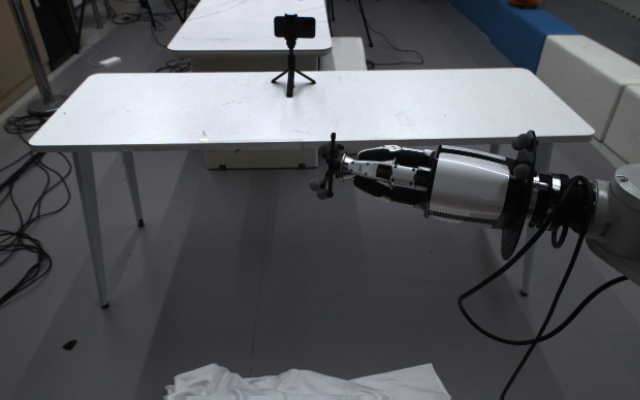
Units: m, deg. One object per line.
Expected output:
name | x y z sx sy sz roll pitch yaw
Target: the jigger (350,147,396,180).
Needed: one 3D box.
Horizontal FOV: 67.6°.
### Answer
jigger | 0.070 -0.044 0.632 0.071 0.043 0.043 8 35 16
